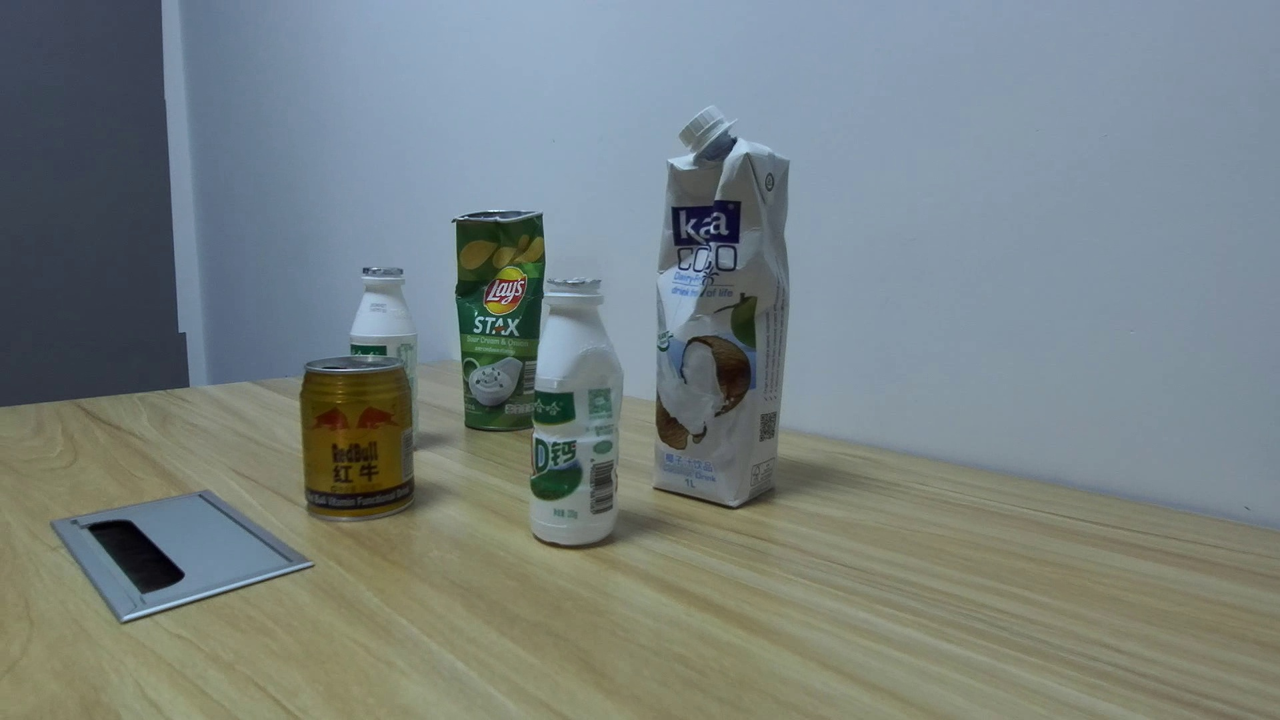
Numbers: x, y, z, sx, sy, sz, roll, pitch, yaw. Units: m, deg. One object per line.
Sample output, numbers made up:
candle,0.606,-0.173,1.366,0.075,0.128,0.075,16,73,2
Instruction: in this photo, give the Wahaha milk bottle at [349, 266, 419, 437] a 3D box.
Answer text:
Wahaha milk bottle,-0.210,-0.002,0.578,0.053,0.147,0.053,3,10,0

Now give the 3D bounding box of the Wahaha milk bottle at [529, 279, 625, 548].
Wahaha milk bottle,-0.040,0.029,0.405,0.055,0.149,0.055,0,10,0

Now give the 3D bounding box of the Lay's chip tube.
Lay's chip tube,-0.131,-0.038,0.667,0.077,0.201,0.069,-5,11,-19

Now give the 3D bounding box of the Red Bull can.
Red Bull can,-0.179,0.048,0.449,0.067,0.093,0.067,1,9,0
